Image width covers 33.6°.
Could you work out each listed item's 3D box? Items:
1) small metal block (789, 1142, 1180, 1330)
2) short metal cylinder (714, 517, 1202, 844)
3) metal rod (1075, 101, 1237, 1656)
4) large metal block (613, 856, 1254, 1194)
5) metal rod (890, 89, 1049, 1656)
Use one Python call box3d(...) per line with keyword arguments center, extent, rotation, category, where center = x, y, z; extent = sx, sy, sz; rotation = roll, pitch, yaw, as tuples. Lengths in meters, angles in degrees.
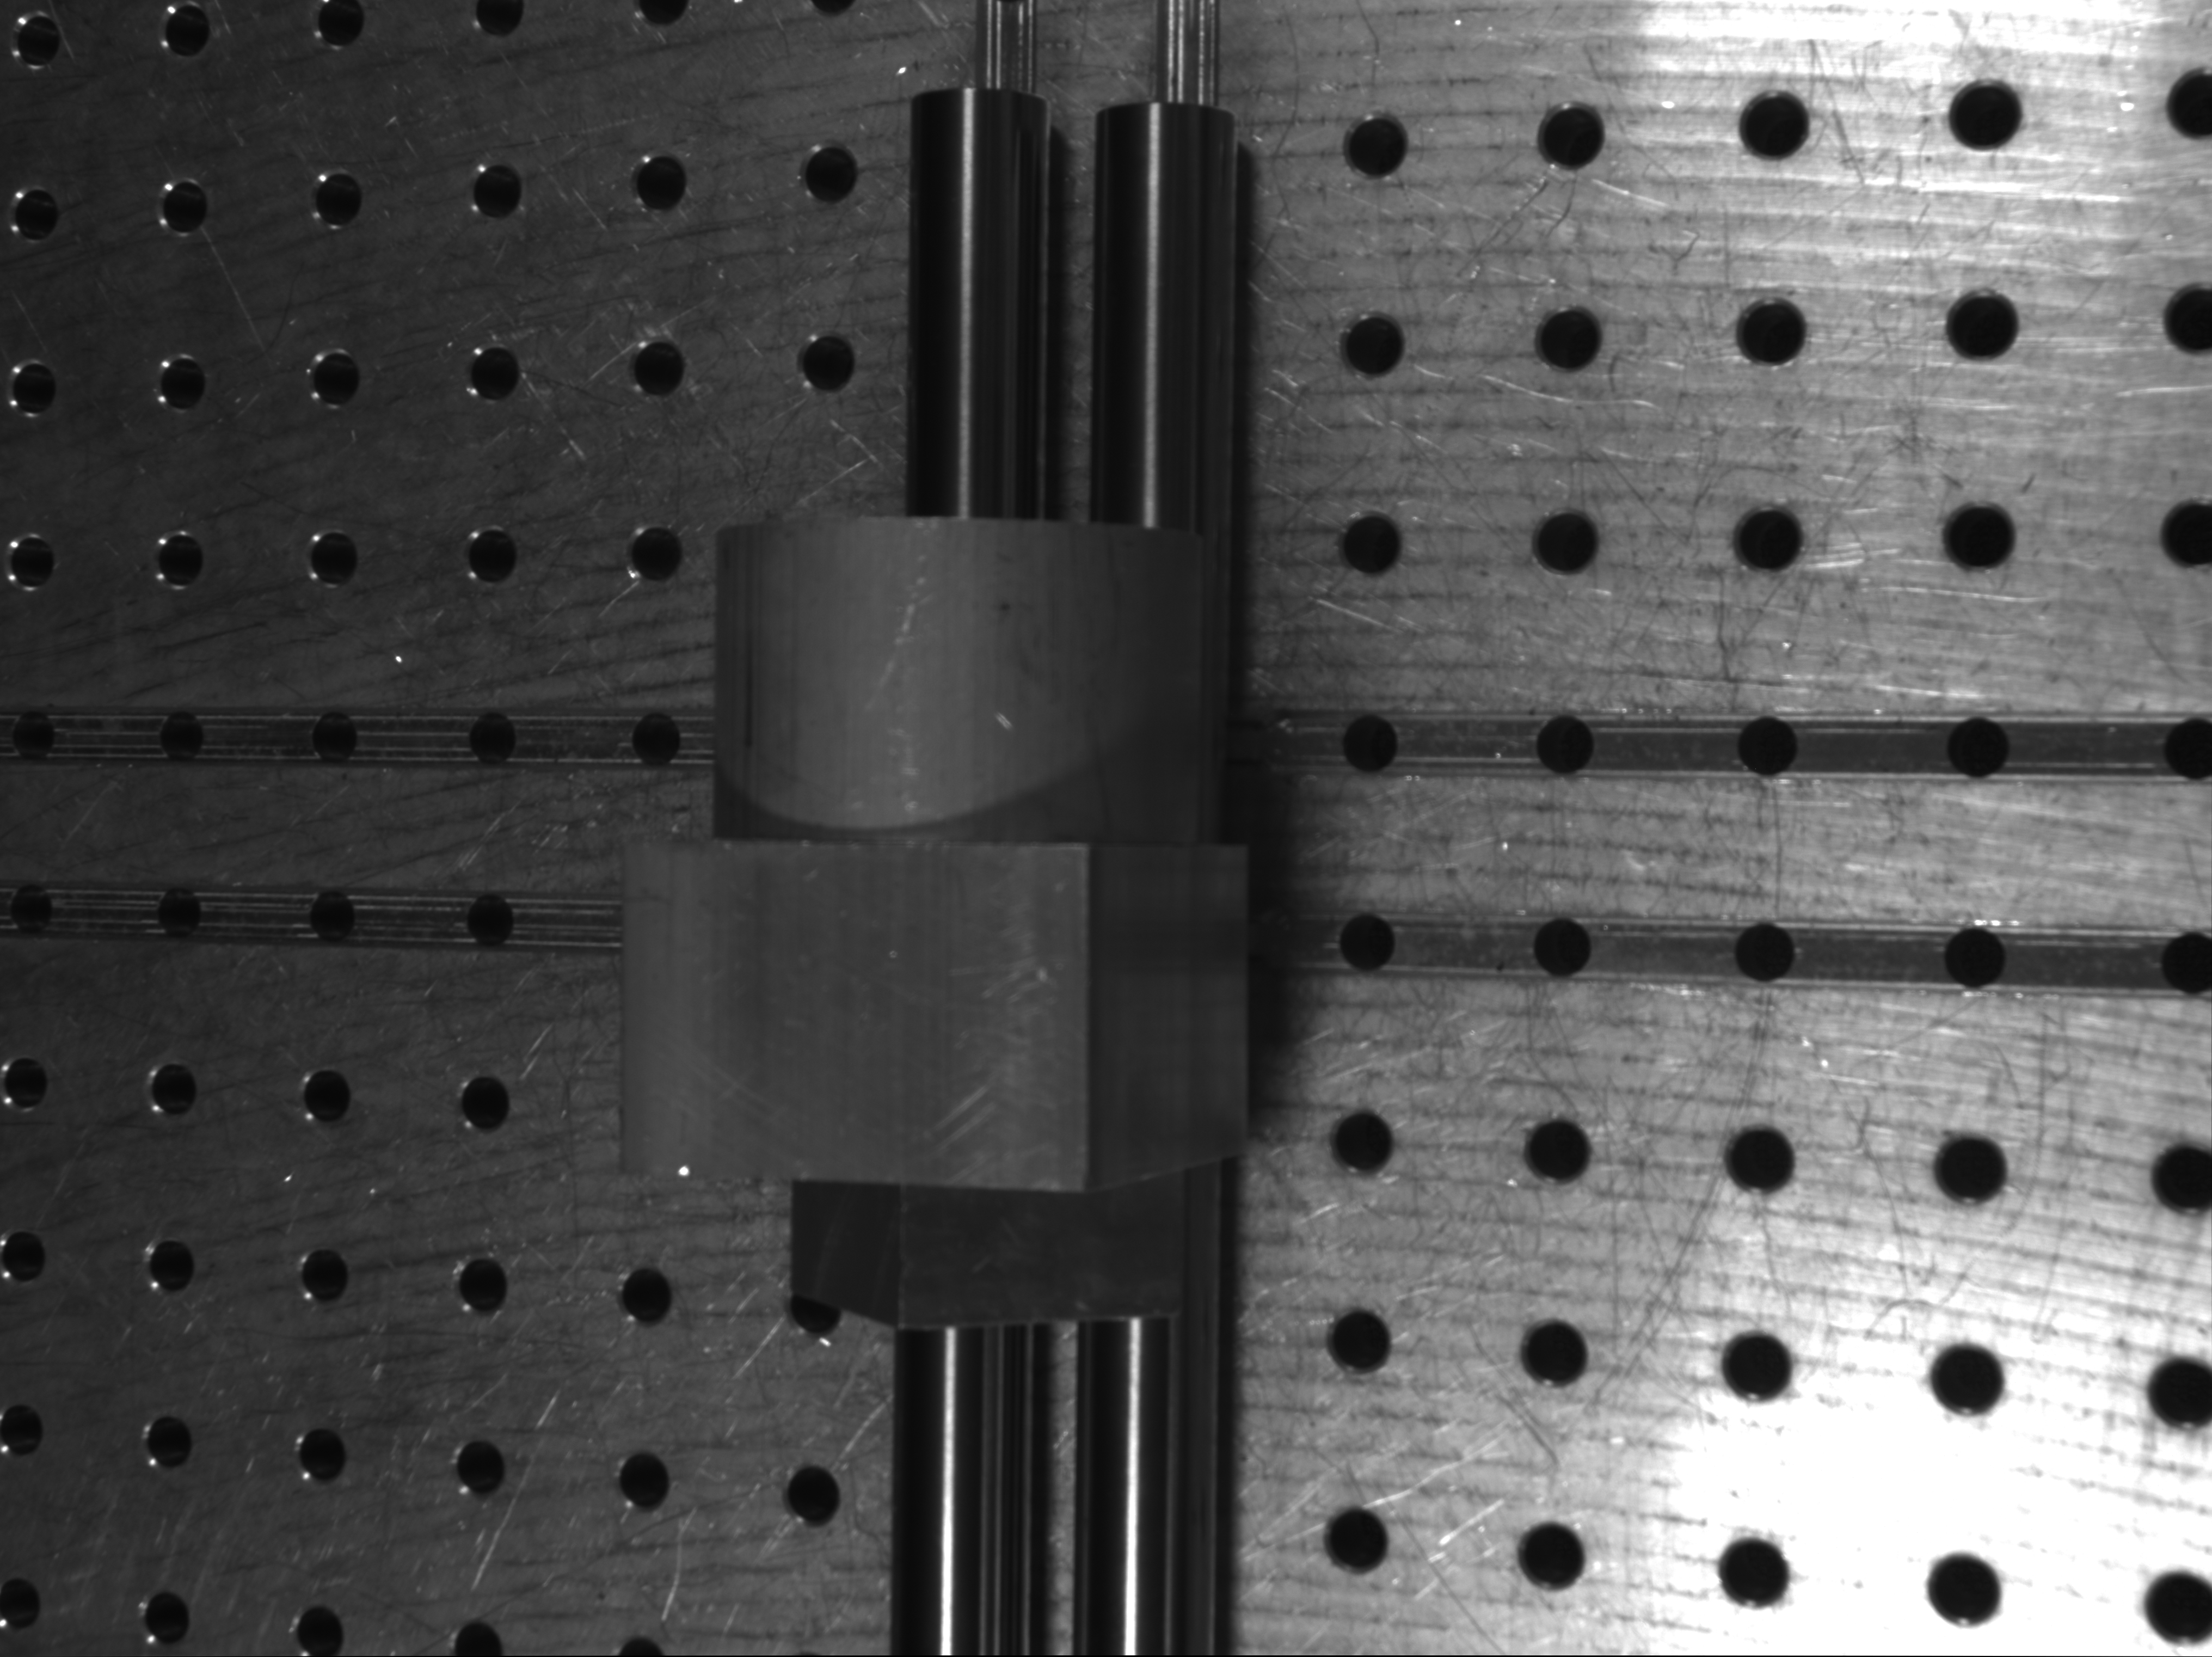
box3d(center=(-0.021, 0.068, 0.617), extent=(0.050, 0.050, 0.025), rotation=(1, 90, -25), category="small metal block")
box3d(center=(-0.024, -0.023, 0.604), extent=(0.080, 0.080, 0.050), rotation=(1, 90, 20), category="short metal cylinder")
box3d(center=(0.009, 0.024, 0.645), extent=(0.025, 0.025, 0.300), rotation=(1, 90, 20), category="metal rod")
box3d(center=(-0.026, 0.030, 0.601), extent=(0.080, 0.080, 0.050), rotation=(0, 90, 20), category="large metal block")
box3d(center=(-0.025, 0.020, 0.657), extent=(0.025, 0.025, 0.300), rotation=(1, 90, 20), category="metal rod")
